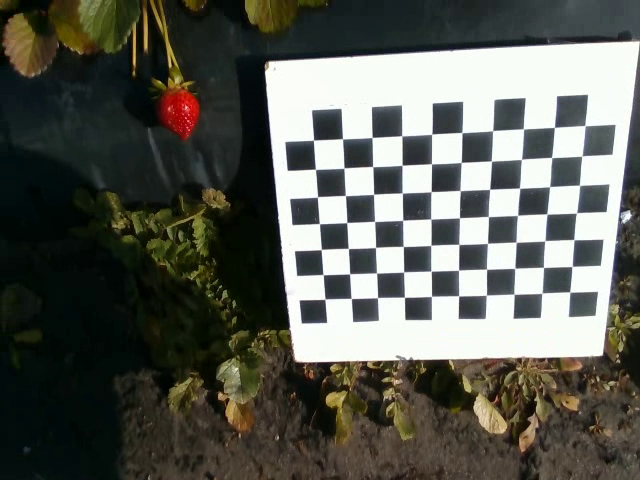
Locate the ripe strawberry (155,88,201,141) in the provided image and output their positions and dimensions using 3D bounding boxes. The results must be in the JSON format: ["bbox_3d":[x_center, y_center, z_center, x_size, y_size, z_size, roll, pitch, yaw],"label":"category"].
[{"bbox_3d":[-0.110,-0.095,0.449,0.040,0.044,0.036,-21,5,12],"label":"ripe strawberry"}]
